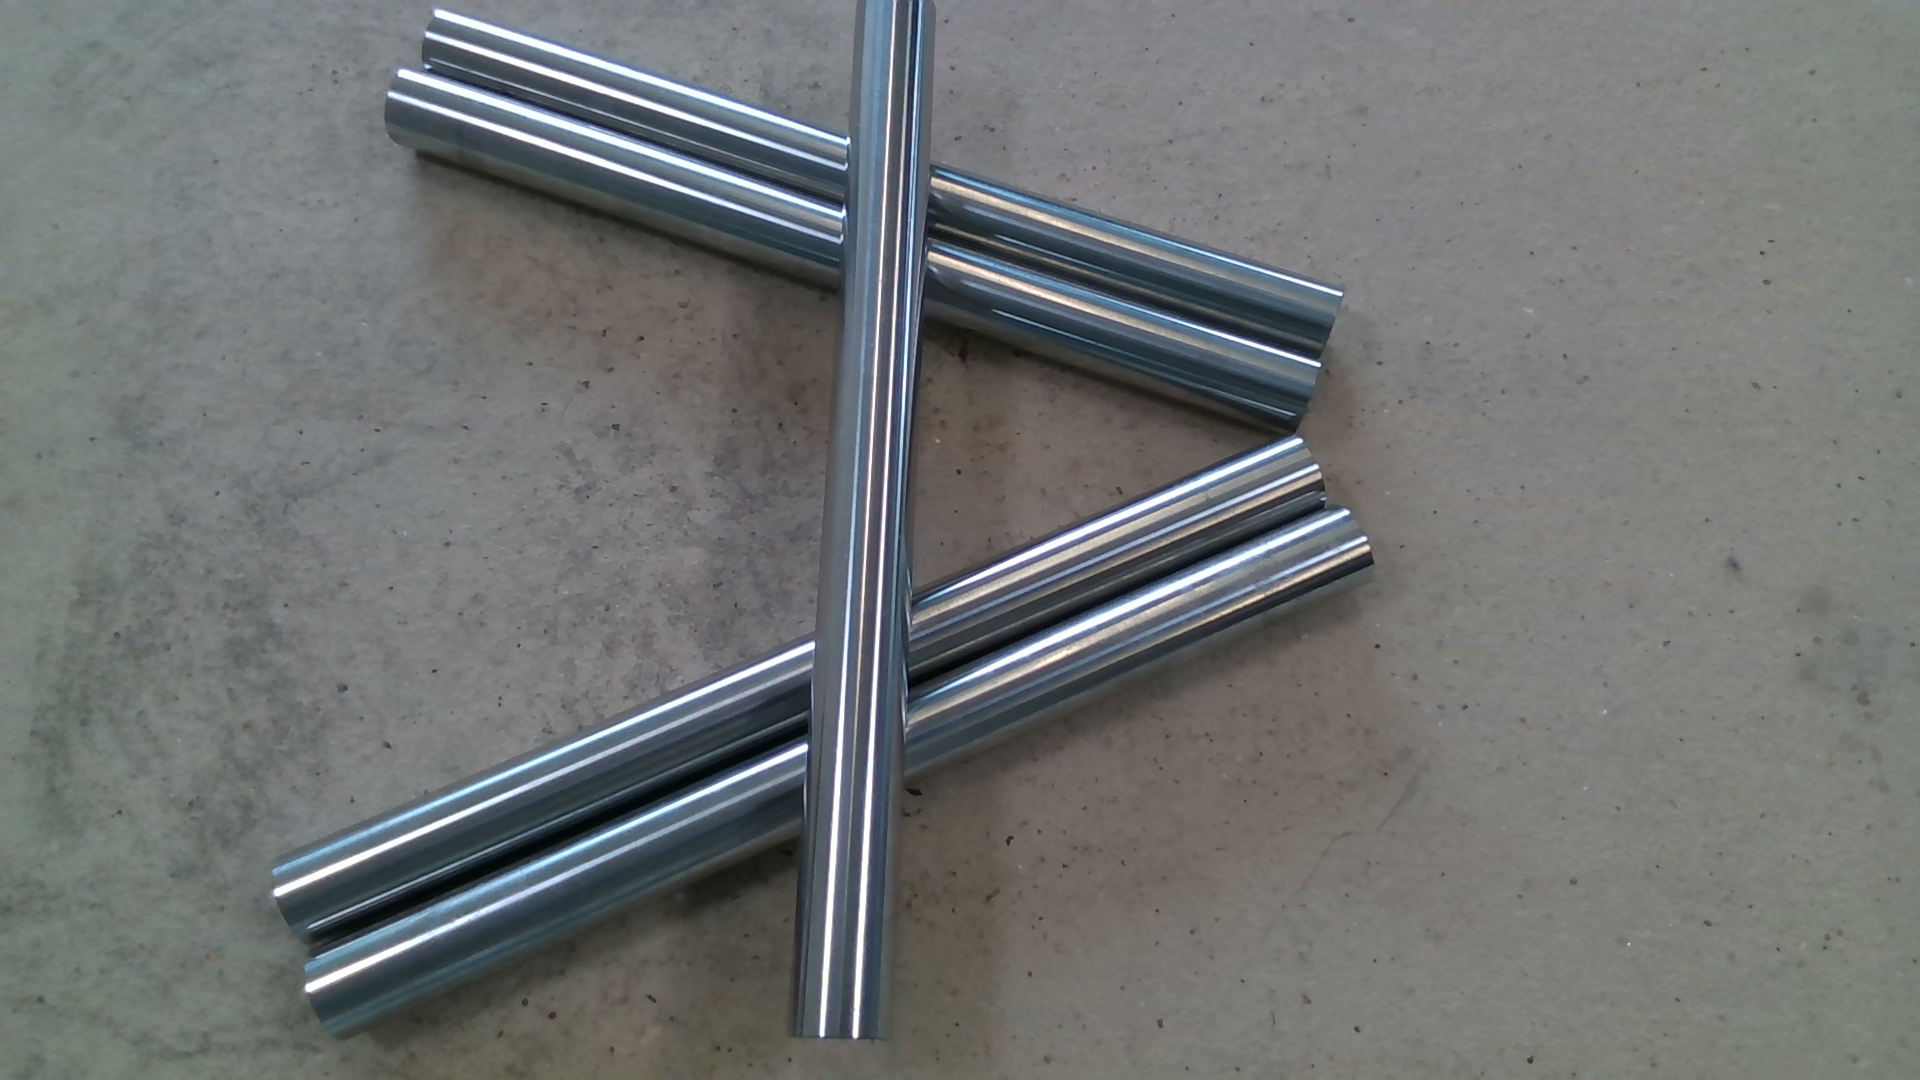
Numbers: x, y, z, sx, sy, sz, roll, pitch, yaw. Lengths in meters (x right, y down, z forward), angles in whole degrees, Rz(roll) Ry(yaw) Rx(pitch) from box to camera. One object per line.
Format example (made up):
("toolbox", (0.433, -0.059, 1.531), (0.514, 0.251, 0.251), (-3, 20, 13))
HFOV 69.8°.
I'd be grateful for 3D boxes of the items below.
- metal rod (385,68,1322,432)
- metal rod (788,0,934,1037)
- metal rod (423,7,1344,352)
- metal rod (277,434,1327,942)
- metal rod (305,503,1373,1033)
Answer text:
("metal rod", (-0.037, -0.092, 0.428), (0.300, 0.025, 0.025), (19, 71, 7))
("metal rod", (-0.024, -0.023, 0.377), (0.025, 0.025, 0.299), (2, 71, 1))
("metal rod", (-0.029, -0.114, 0.436), (0.300, 0.025, 0.025), (19, 71, 7))
("metal rod", (-0.036, 0.038, 0.383), (0.300, 0.025, 0.025), (-23, 72, -8))
("metal rod", (-0.026, 0.058, 0.376), (0.300, 0.025, 0.025), (-23, 72, -8))
